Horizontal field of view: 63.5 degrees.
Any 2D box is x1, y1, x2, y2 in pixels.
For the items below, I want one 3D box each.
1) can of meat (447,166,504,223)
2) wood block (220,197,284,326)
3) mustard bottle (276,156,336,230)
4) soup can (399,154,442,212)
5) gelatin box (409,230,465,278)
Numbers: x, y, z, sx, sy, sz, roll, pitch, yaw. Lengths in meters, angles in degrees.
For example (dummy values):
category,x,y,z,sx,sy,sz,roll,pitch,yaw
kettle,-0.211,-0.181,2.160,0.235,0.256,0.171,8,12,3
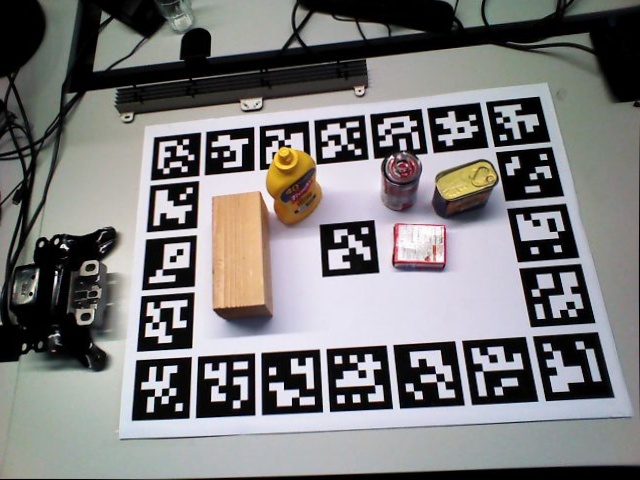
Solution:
category,x,y,z,sx,sy,sz,roll,pitch,yaw
can of meat,0.271,-0.077,0.895,0.102,0.084,0.057,-17,68,-2
wood block,-0.113,0.036,0.896,0.091,0.090,0.205,-3,65,4
mustard bottle,-0.025,-0.086,0.883,0.096,0.192,0.058,-28,68,-6
soup can,0.171,-0.097,0.895,0.068,0.102,0.067,-2,70,6
gelatin box,0.201,0.024,0.889,0.090,0.030,0.073,4,72,11
